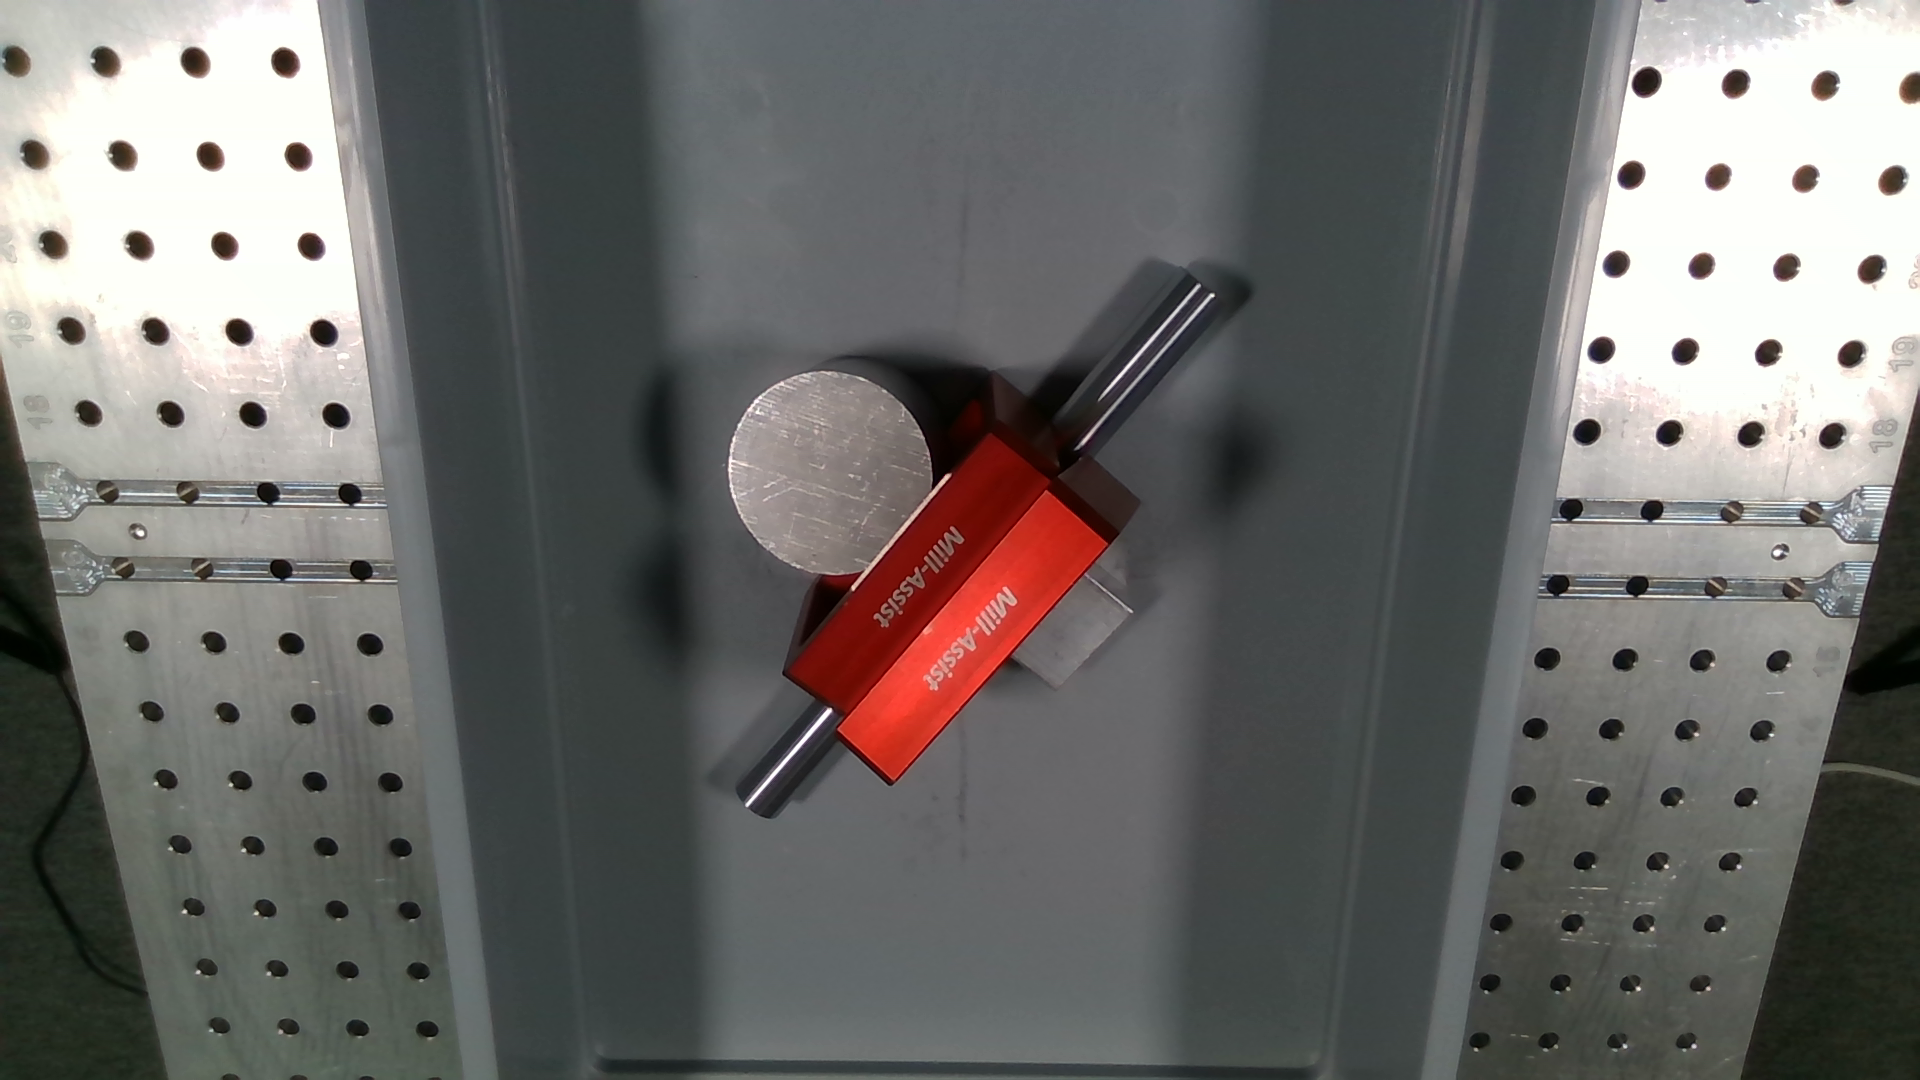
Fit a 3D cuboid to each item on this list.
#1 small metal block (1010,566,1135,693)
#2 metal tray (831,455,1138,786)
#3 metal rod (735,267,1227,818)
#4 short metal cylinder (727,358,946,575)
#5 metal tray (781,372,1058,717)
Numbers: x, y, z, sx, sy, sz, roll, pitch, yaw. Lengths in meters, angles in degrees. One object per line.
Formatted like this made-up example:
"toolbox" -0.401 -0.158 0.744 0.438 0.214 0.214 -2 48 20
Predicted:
"small metal block" 0.039 0.029 0.594 0.050 0.025 0.050 39 106 -13
"metal tray" 0.012 0.029 0.533 0.030 0.090 0.130 42 106 4
"metal rod" 0.002 0.008 0.588 0.025 0.025 0.300 37 106 -13
"short metal cylinder" -0.048 -0.031 0.553 0.080 0.050 0.080 2 105 7
"metal tray" -0.016 -0.001 0.549 0.030 0.090 0.130 37 106 -12
